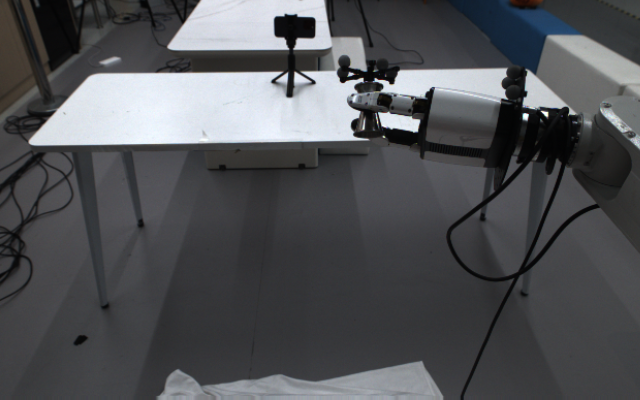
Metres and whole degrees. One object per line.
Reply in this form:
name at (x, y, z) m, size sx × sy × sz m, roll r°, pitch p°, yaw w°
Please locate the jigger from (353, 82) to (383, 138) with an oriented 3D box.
jigger at (0.065, -0.124, 0.662) m, size 0.043 × 0.071 × 0.043 m, roll 1°, pitch -5°, yaw 0°
